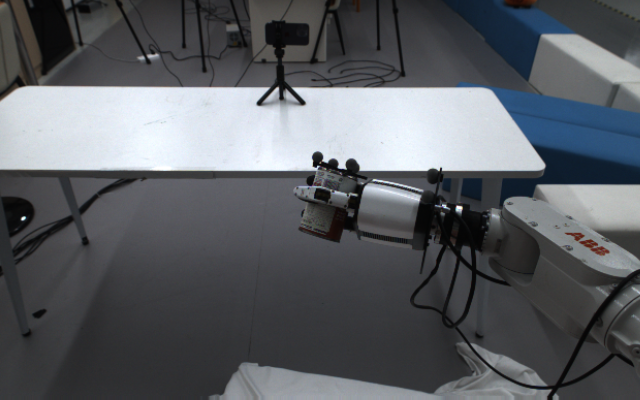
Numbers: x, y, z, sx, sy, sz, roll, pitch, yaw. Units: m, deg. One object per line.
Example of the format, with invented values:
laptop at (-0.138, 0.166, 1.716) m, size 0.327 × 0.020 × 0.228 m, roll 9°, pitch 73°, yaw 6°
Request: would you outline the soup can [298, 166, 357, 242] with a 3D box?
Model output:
soup can at (0.014, 0.008, 0.744) m, size 0.067 × 0.101 × 0.067 m, roll 17°, pitch -1°, yaw 0°
